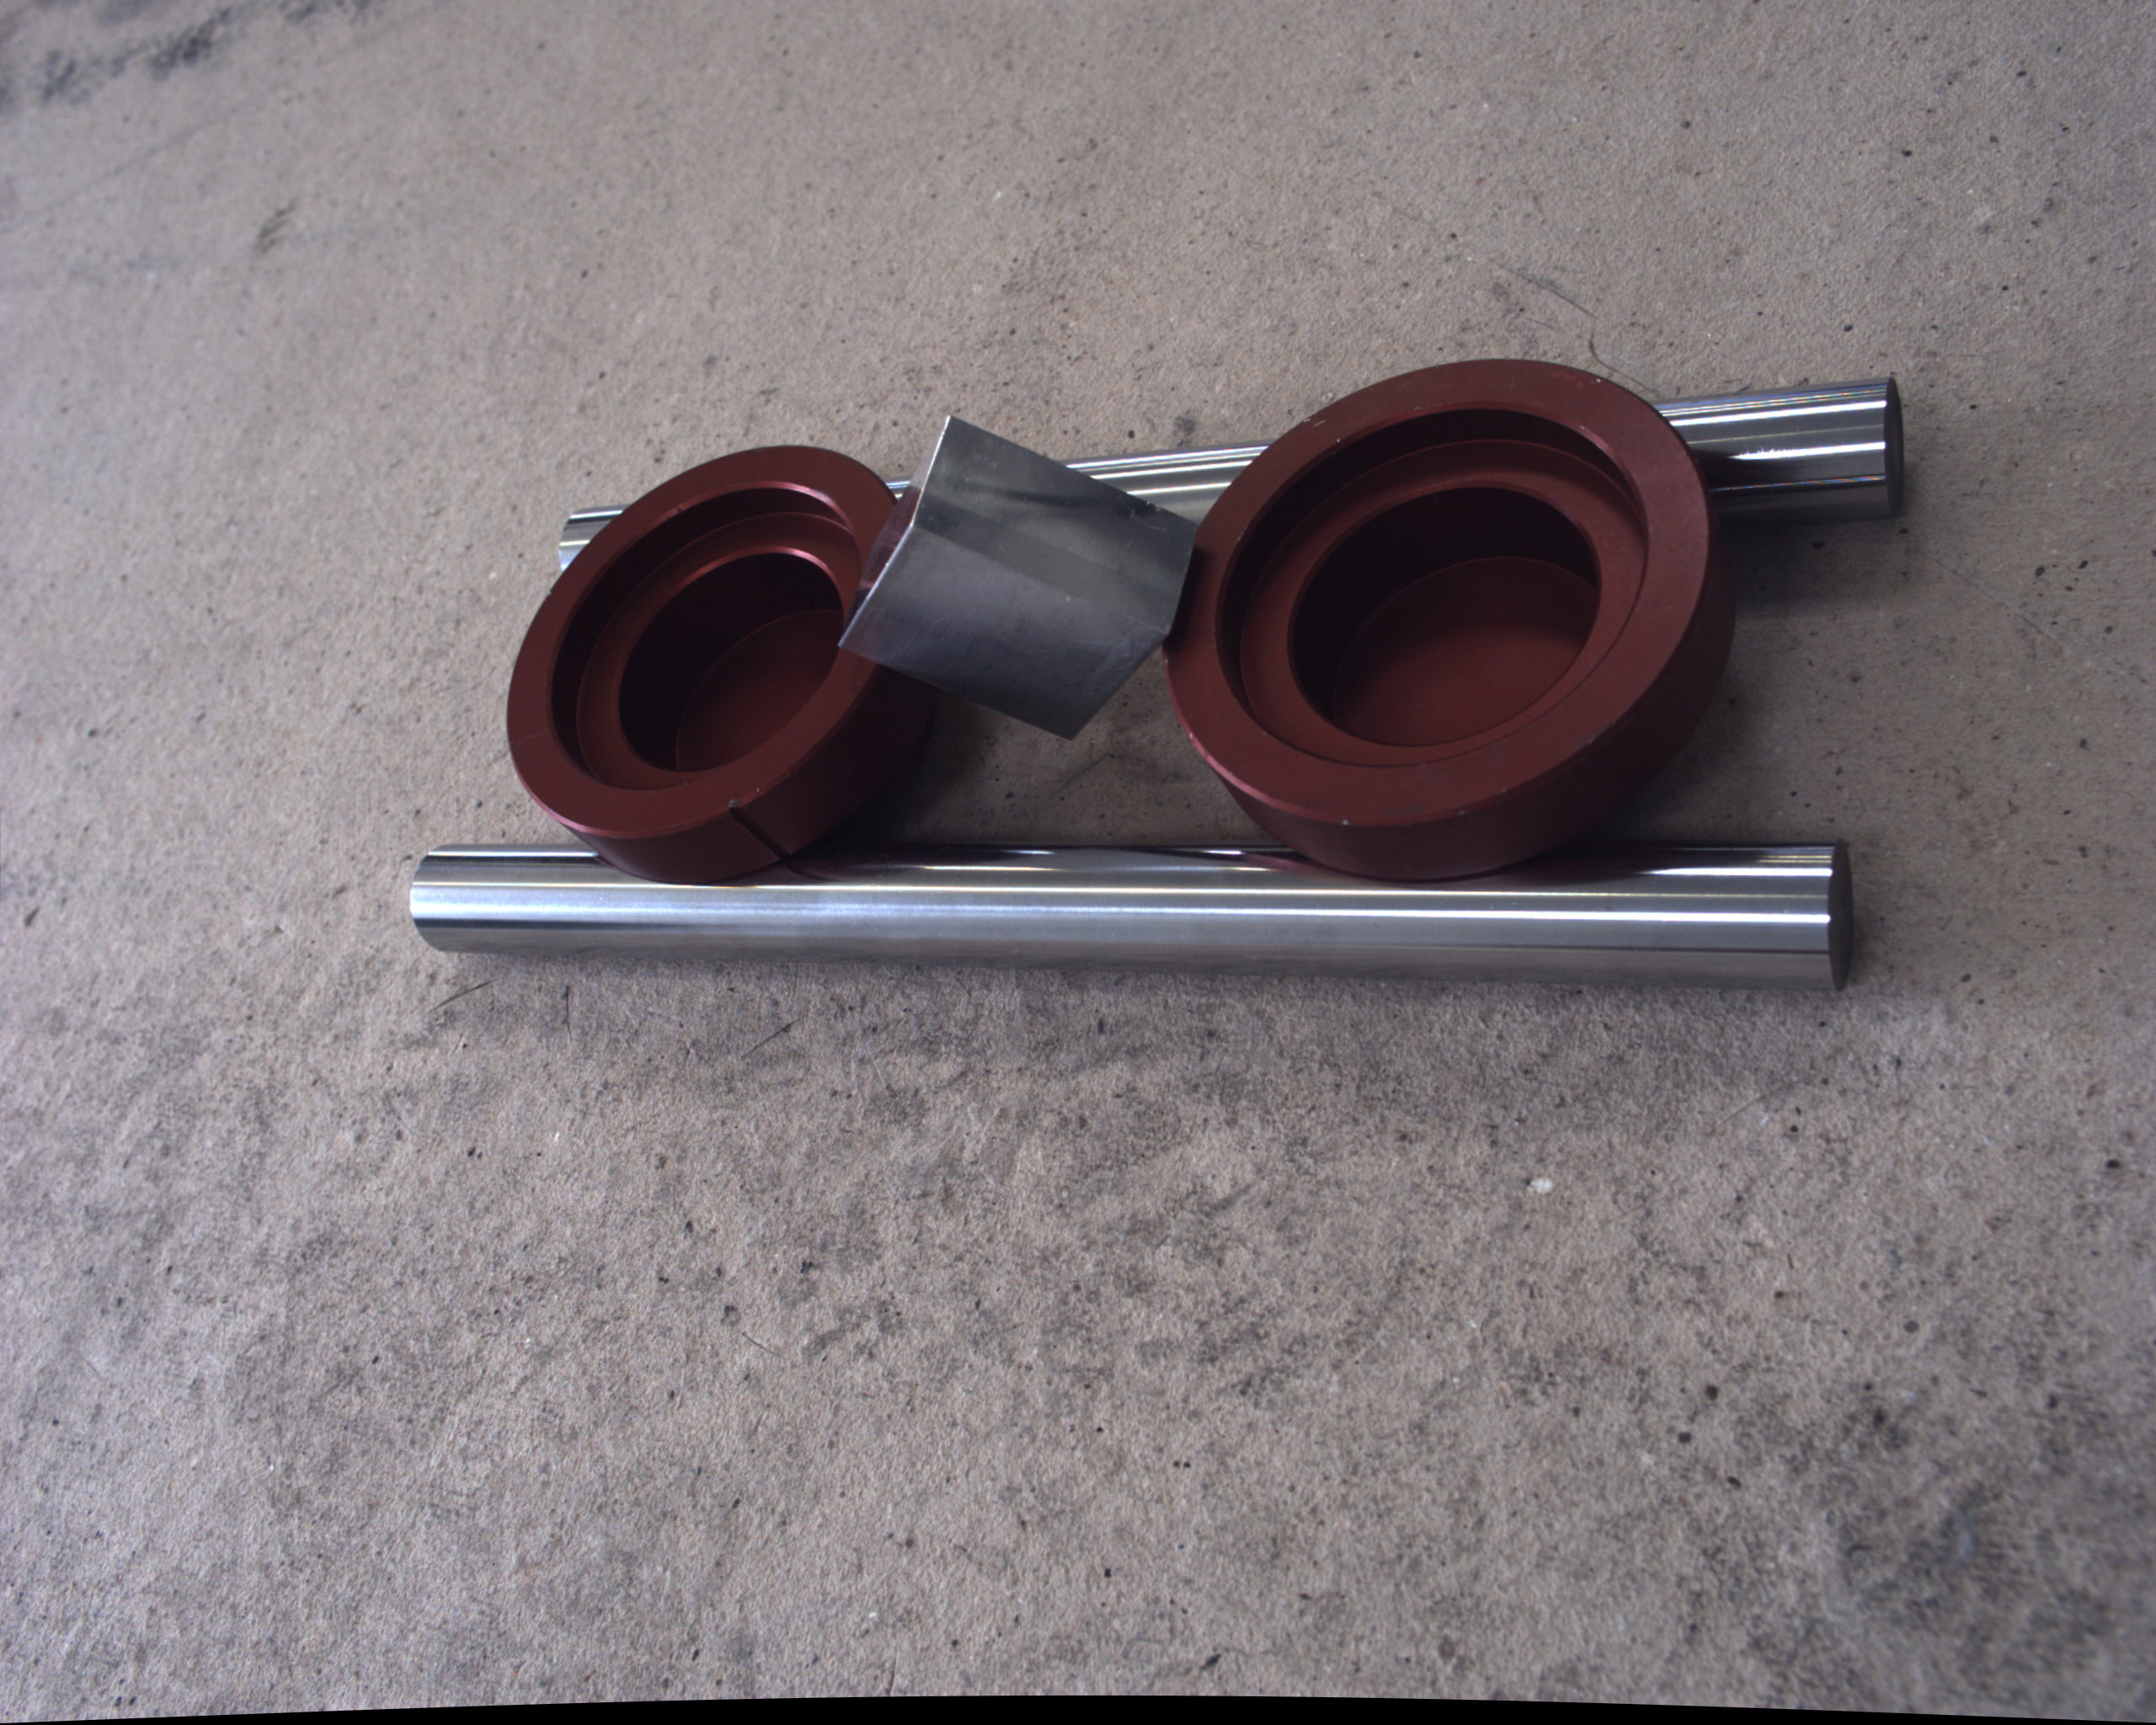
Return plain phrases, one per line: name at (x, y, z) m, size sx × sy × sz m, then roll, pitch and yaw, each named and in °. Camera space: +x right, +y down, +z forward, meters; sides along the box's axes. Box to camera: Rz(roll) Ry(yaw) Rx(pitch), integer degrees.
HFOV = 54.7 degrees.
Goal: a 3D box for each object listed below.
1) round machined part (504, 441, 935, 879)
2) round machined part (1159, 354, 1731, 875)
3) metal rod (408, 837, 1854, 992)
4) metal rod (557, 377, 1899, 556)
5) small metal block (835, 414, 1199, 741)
round machined part at (-0.070, -0.039, 0.450) m, size 0.098 × 0.042 × 0.098 m, roll -13°, pitch 56°, yaw 21°
round machined part at (0.068, -0.040, 0.377) m, size 0.098 × 0.042 × 0.098 m, roll -13°, pitch 56°, yaw 21°
metal rod at (-0.010, 0.008, 0.405) m, size 0.300 × 0.025 × 0.025 m, roll 0°, pitch 62°, yaw 28°
metal rod at (0.013, -0.075, 0.443) m, size 0.300 × 0.025 × 0.025 m, roll 0°, pitch 62°, yaw 28°
small metal block at (-0.012, -0.052, 0.394) m, size 0.050 × 0.050 × 0.025 m, roll 138°, pitch 150°, yaw -61°
